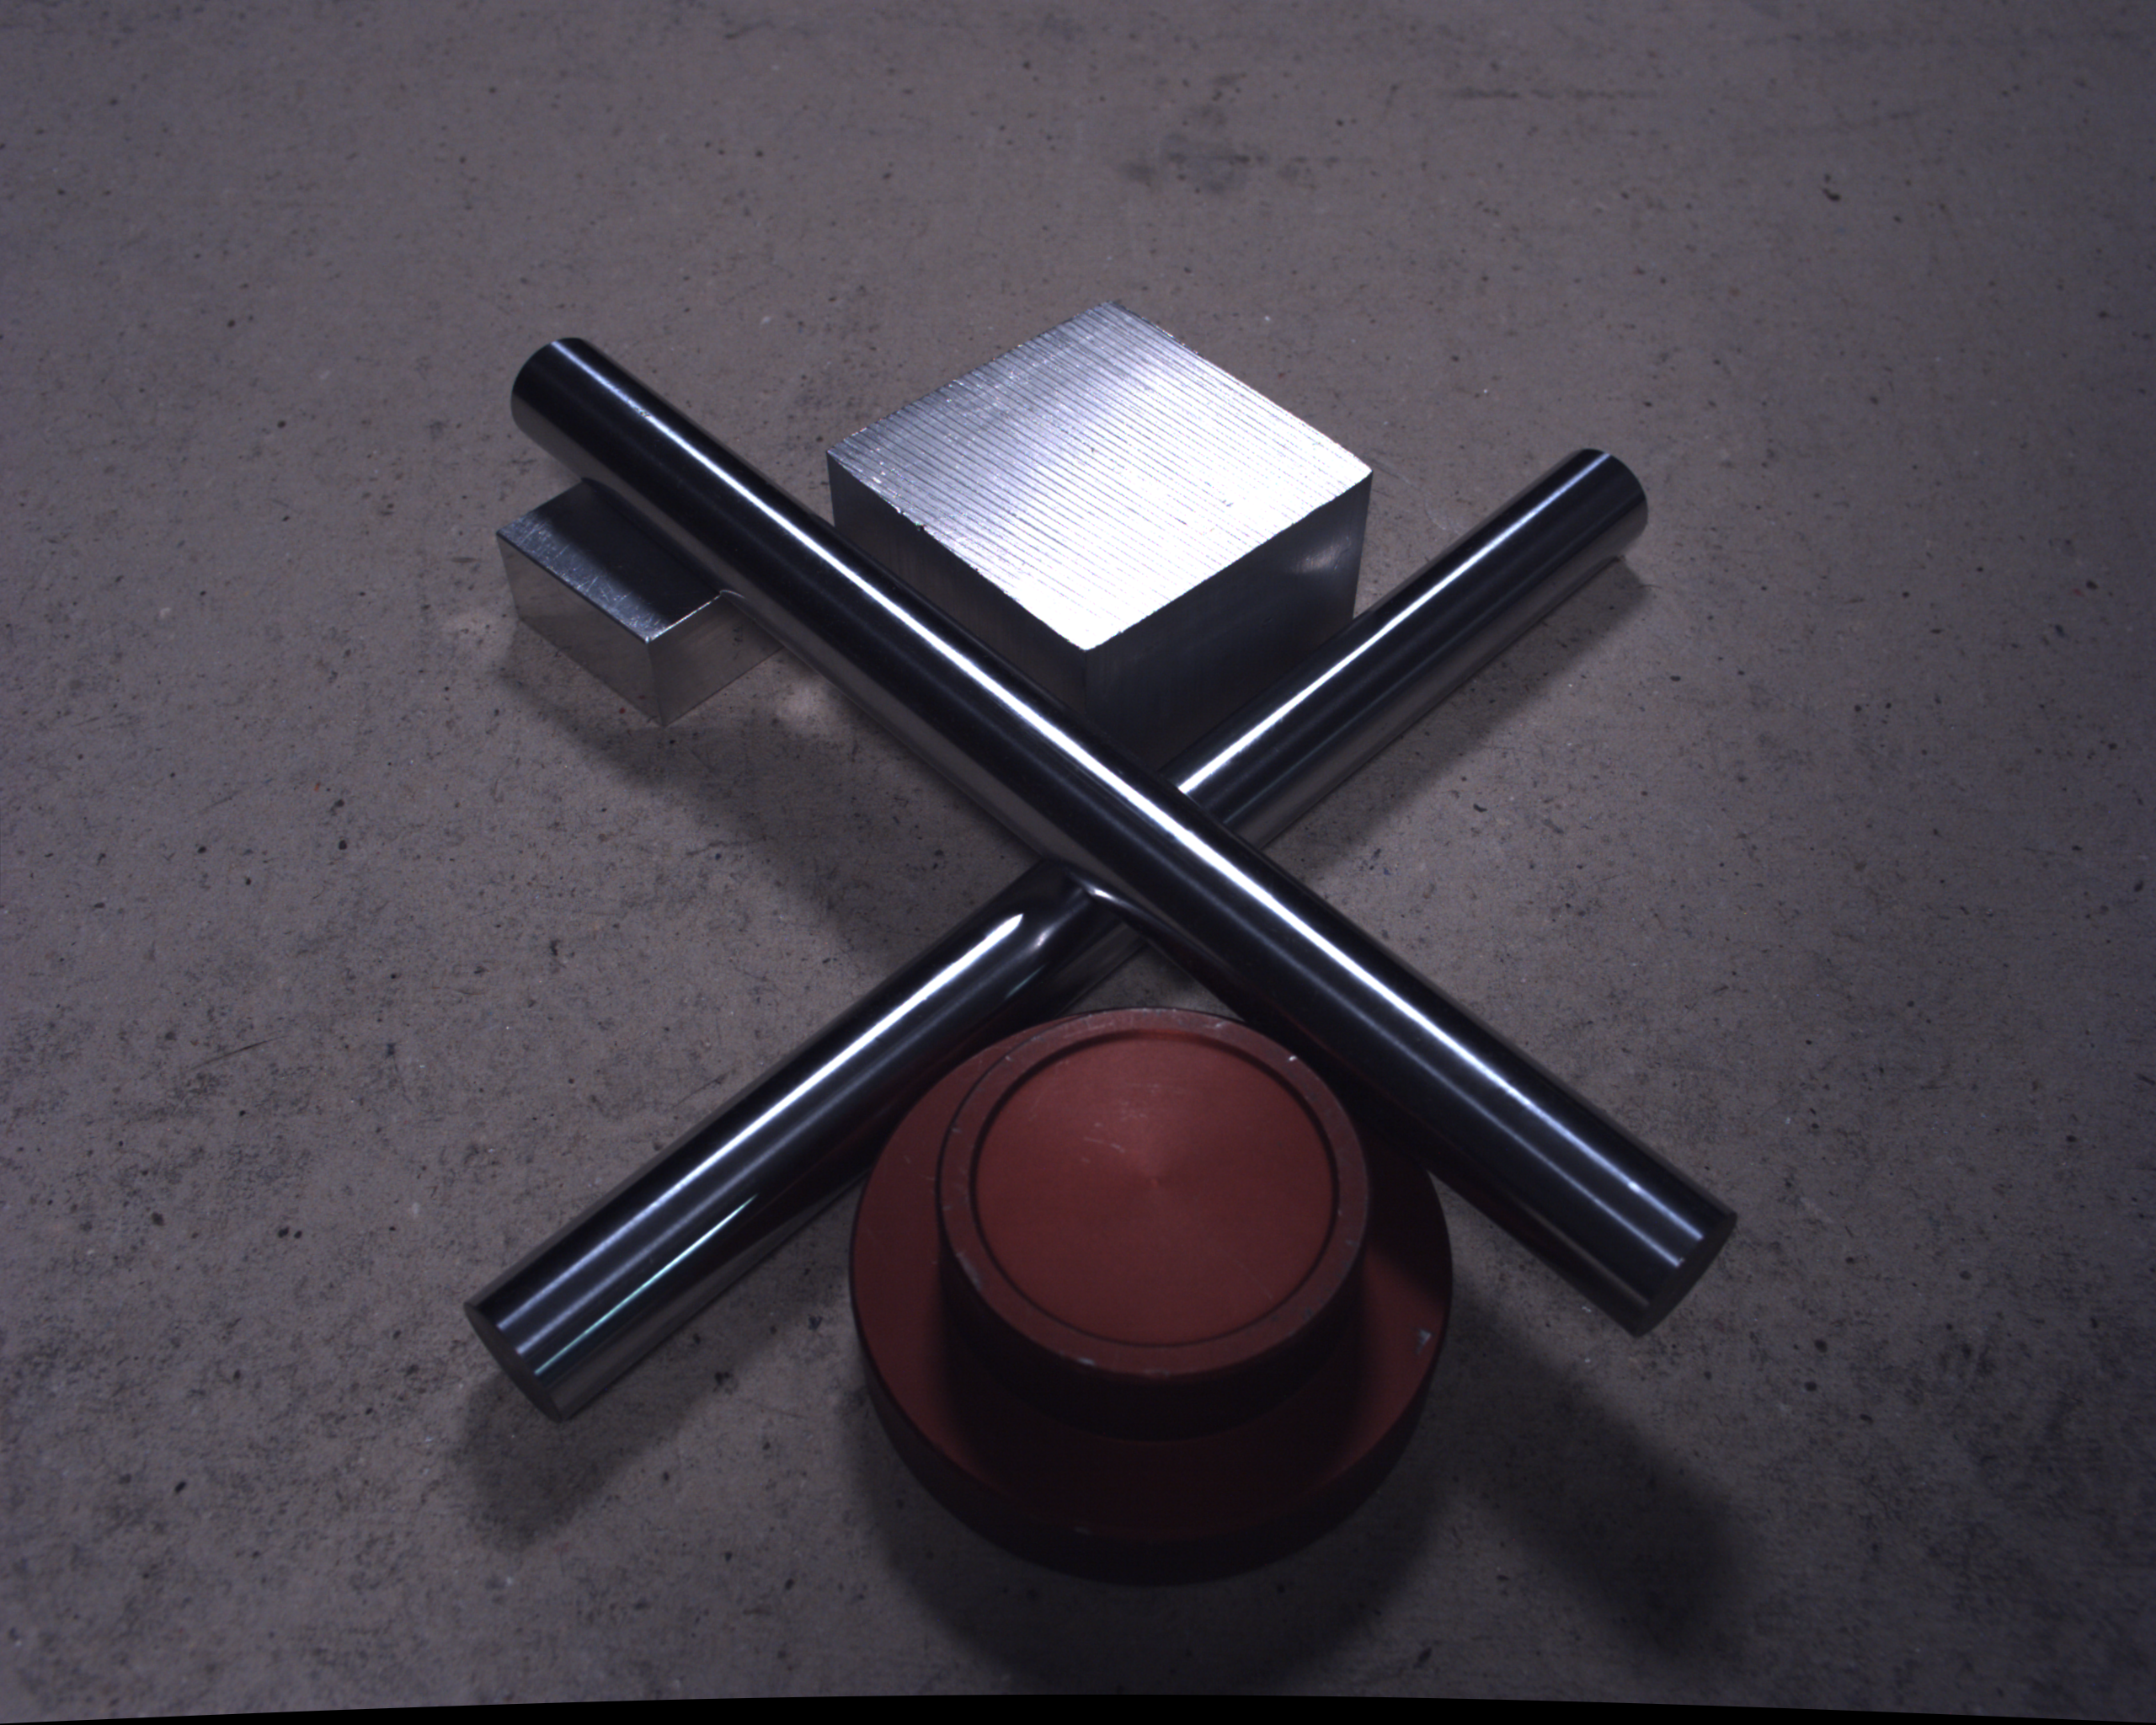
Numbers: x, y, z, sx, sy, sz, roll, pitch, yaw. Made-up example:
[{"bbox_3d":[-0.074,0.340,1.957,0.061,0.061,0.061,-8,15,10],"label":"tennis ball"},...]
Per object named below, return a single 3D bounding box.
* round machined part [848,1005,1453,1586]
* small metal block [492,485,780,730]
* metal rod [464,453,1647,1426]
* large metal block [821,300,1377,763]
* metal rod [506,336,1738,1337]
[{"bbox_3d":[0.012,0.062,0.341,0.099,0.042,0.098,0,50,0],"label":"round machined part"},{"bbox_3d":[-0.090,-0.063,0.458,0.050,0.025,0.050,35,58,25],"label":"small metal block"},{"bbox_3d":[0.014,0.000,0.407,0.025,0.025,0.302,37,59,26],"label":"metal rod"},{"bbox_3d":[0.004,-0.066,0.445,0.080,0.050,0.080,-34,58,-26],"label":"large metal block"},{"bbox_3d":[-0.011,-0.020,0.389,0.025,0.025,0.300,-36,59,-27],"label":"metal rod"}]
